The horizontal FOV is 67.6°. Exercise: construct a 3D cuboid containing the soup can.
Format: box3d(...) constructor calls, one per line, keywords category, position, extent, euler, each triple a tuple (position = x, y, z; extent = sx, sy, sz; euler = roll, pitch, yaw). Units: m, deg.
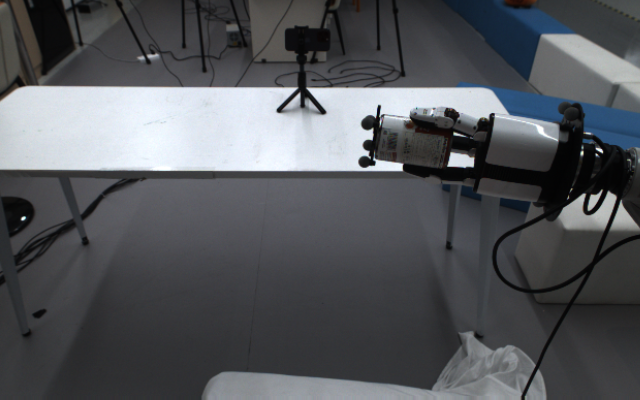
box3d(category="soup can", position=(0.135, -0.085, 0.692), extent=(0.101, 0.067, 0.067), euler=(9, 35, 9))
